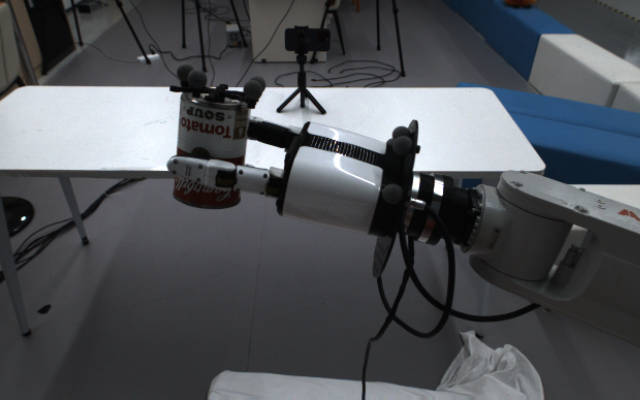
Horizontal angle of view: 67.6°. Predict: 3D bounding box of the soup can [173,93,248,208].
[{"bbox_3d":[-0.105,-0.051,0.478,0.067,0.101,0.067,9,20,-3],"label":"soup can"}]
